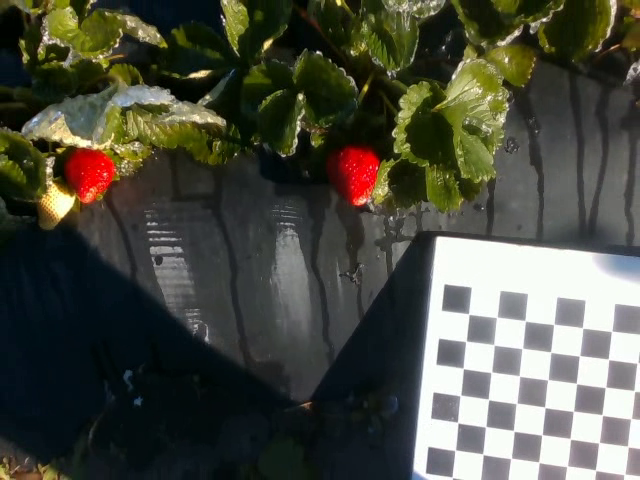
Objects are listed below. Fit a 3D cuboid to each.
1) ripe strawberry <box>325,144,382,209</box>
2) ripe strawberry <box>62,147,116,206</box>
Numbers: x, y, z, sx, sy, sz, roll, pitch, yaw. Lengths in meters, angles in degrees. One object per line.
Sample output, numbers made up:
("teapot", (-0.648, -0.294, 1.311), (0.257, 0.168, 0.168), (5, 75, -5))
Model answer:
("ripe strawberry", (0.024, -0.043, 0.397), (0.042, 0.053, 0.047), (0, -39, 6))
("ripe strawberry", (-0.172, -0.044, 0.419), (0.037, 0.040, 0.051), (-8, 41, 7))
